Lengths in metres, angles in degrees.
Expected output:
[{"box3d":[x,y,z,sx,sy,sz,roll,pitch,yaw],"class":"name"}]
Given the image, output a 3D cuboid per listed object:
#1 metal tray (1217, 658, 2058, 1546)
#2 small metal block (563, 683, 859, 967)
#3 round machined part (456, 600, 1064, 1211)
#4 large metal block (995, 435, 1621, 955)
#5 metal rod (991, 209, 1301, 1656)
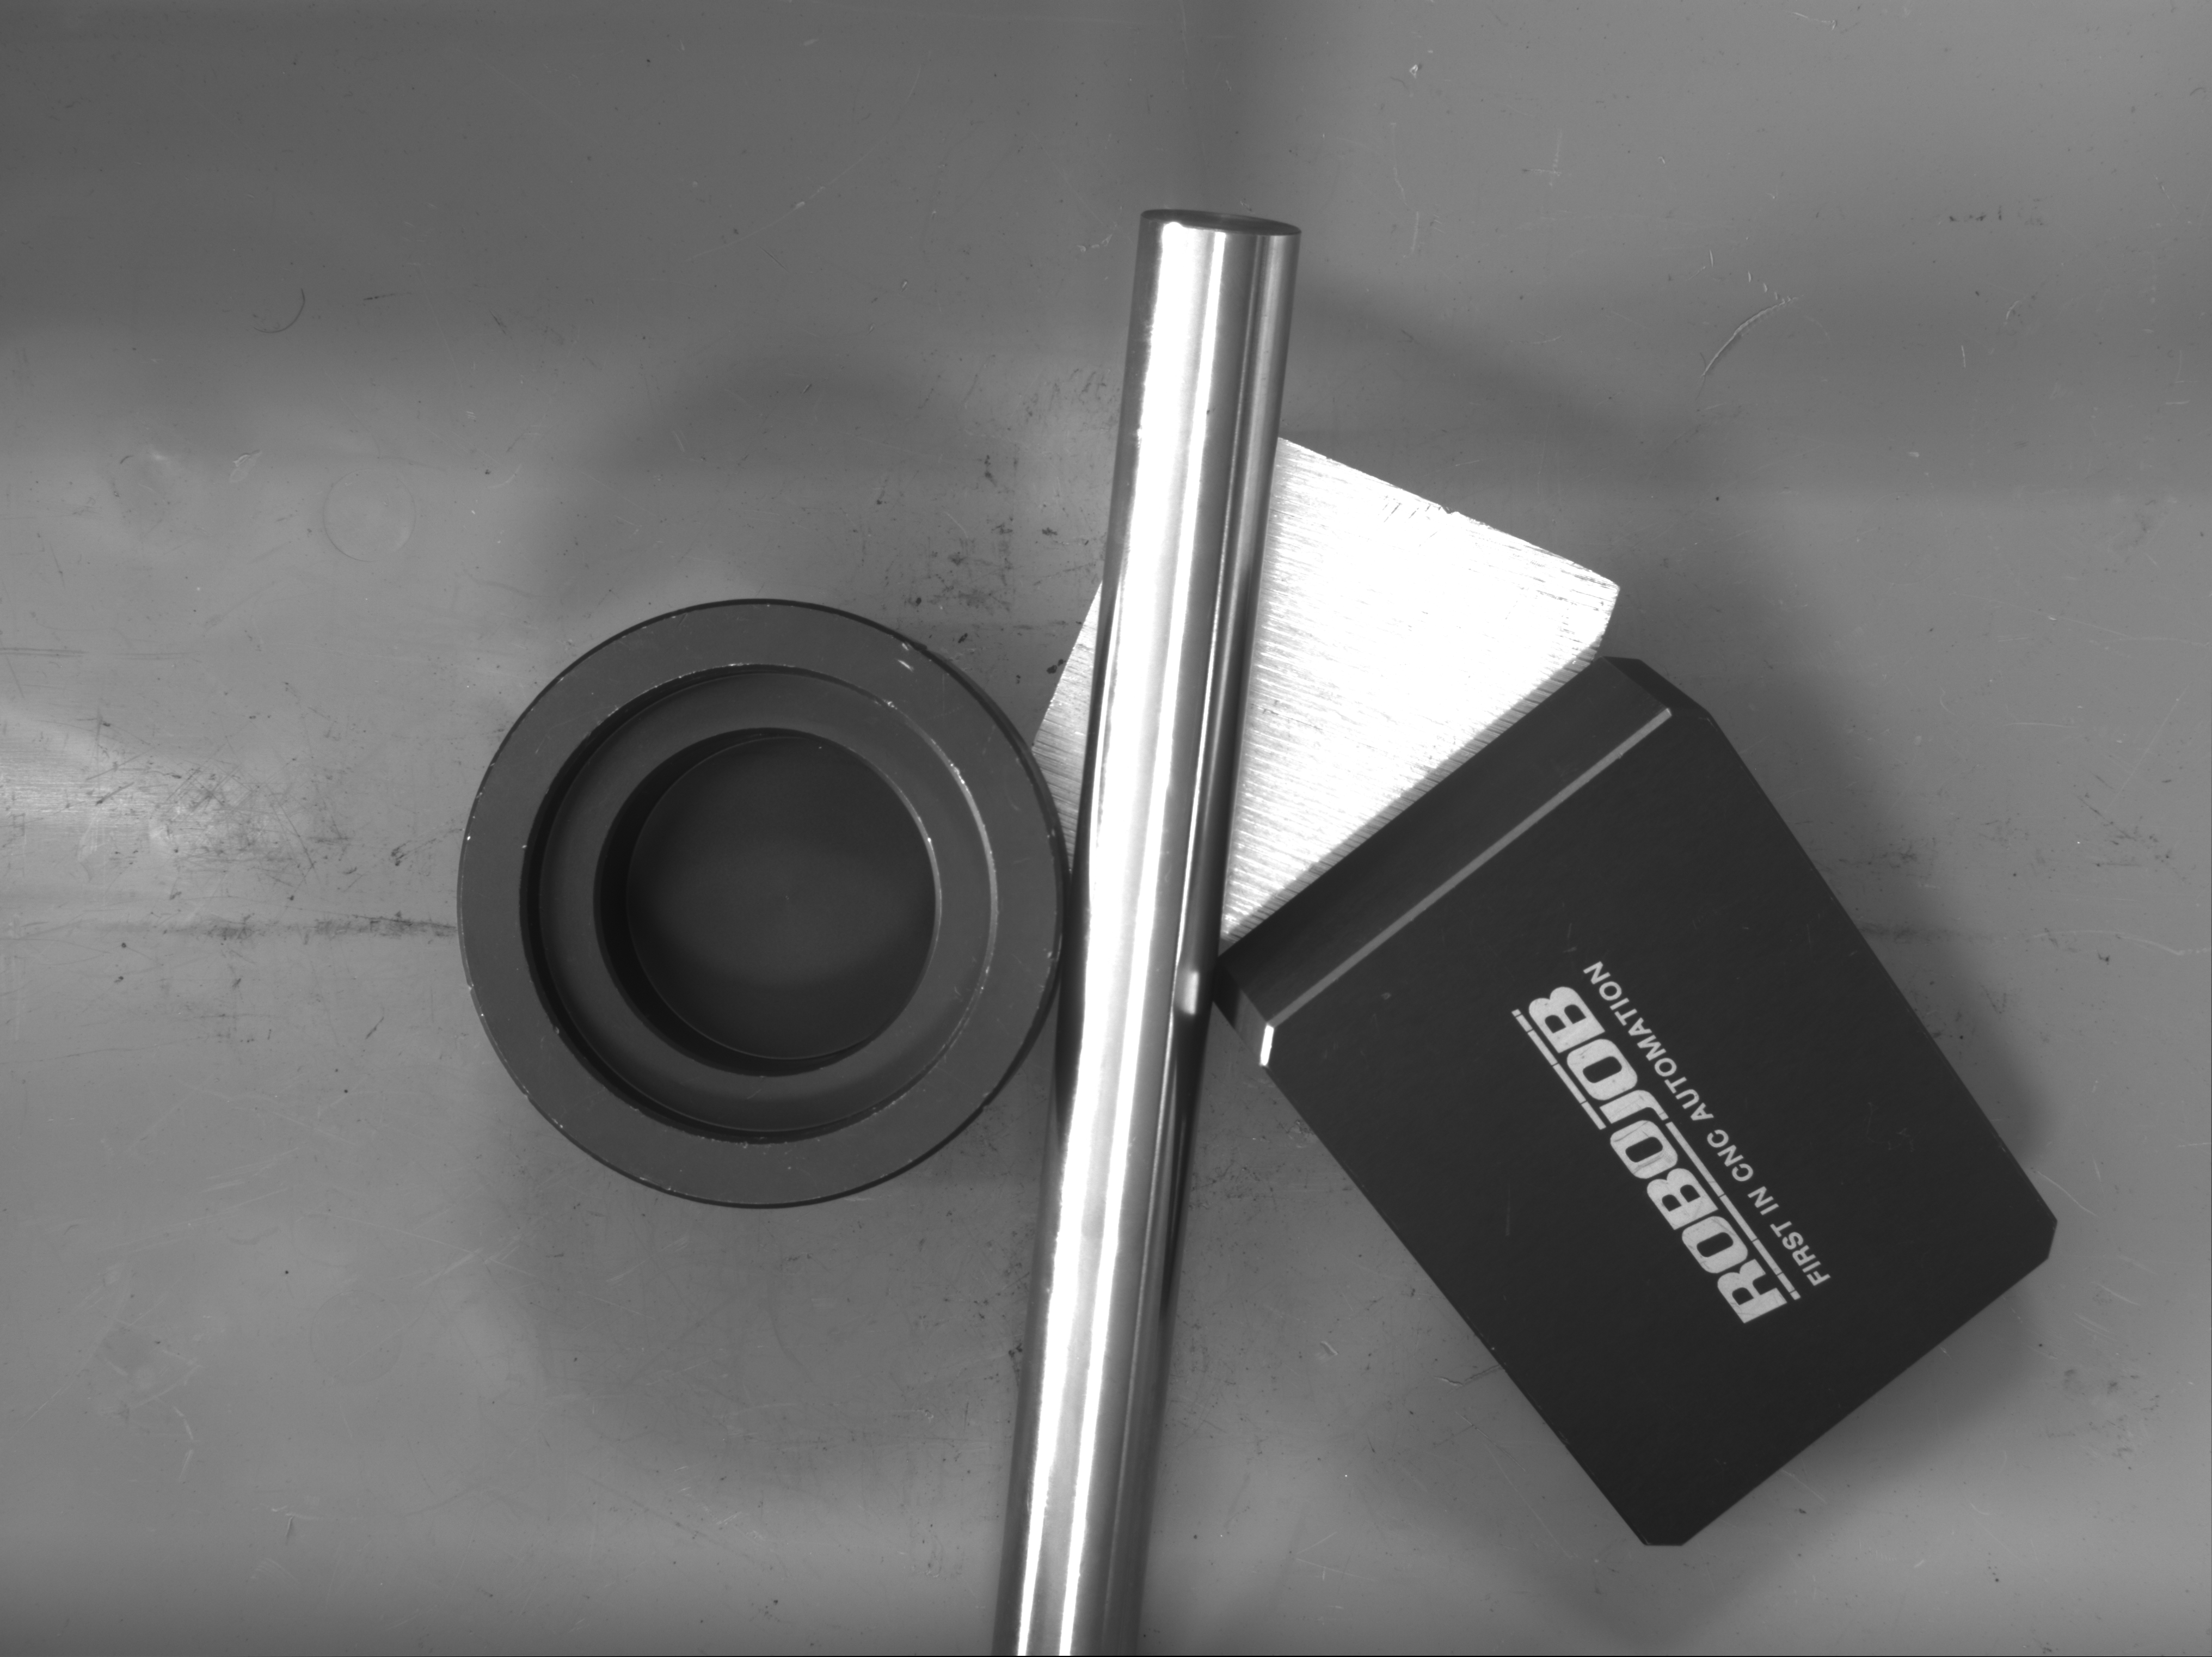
[{"box3d":[0.090,0.048,0.617,0.090,0.030,0.130,-38,115,0],"class":"metal tray"},{"box3d":[-0.069,-0.003,0.645,0.050,0.025,0.050,-22,90,0],"class":"small metal block"},{"box3d":[-0.055,0.012,0.609,0.098,0.042,0.098,0,90,3],"class":"round machined part"},{"box3d":[0.033,-0.019,0.633,0.080,0.050,0.080,23,90,0],"class":"large metal block"},{"box3d":[0.002,0.050,0.605,0.025,0.025,0.300,6,106,0],"class":"metal rod"}]
